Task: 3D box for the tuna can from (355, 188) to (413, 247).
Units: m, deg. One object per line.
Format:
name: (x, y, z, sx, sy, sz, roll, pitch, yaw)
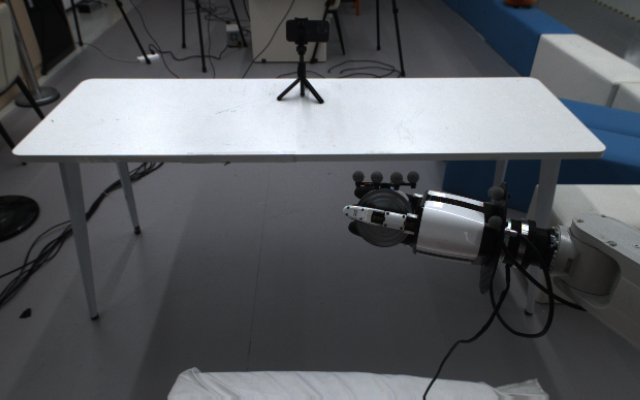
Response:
tuna can: (0.097, 0.029, 0.705, 0.085, 0.085, 0.034, 13, 7, 15)
